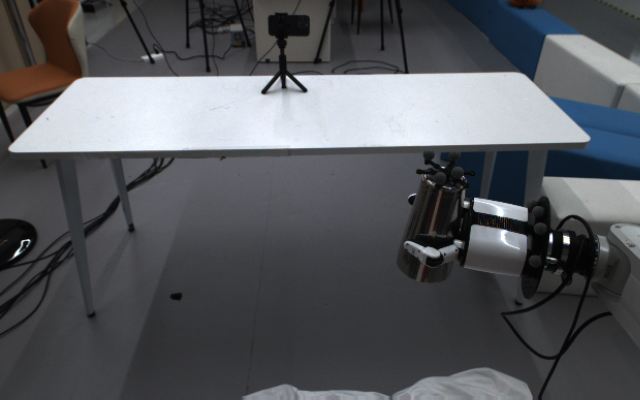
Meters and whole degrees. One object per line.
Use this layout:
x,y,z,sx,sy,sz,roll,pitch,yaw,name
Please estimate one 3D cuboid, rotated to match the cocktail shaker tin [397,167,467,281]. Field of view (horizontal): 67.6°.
0.181,0.035,0.763,0.093,0.170,0.093,3,34,-2,cocktail shaker tin
